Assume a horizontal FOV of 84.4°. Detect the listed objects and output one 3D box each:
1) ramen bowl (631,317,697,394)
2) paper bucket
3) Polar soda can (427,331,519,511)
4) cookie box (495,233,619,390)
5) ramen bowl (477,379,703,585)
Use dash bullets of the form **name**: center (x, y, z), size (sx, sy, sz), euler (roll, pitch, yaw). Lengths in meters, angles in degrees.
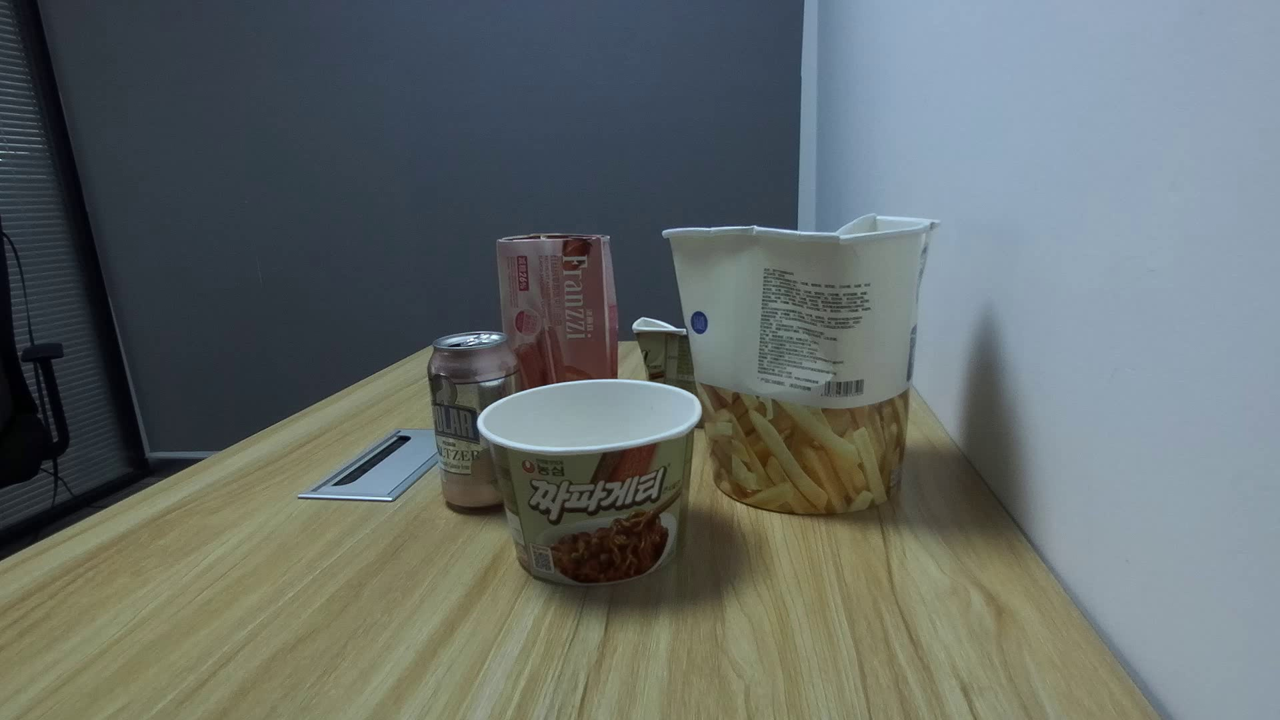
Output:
- **ramen bowl**: center (0.059, 0.004, 0.717), size (0.128, 0.093, 0.112), euler (4, 18, 29)
- **paper bucket**: center (0.132, -0.006, 0.537), size (0.163, 0.202, 0.168), euler (-13, 20, -40)
- **Polar soda can**: center (-0.123, 0.045, 0.538), size (0.067, 0.125, 0.067), euler (-4, 13, 1)
- **cookie box**: center (-0.070, -0.023, 0.659), size (0.105, 0.187, 0.049), euler (-1, 12, 9)
- **ramen bowl**: center (-0.029, 0.075, 0.454), size (0.140, 0.095, 0.140), euler (-2, 13, 1)
